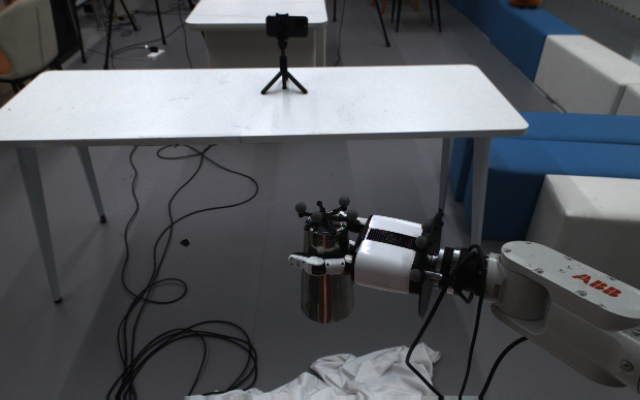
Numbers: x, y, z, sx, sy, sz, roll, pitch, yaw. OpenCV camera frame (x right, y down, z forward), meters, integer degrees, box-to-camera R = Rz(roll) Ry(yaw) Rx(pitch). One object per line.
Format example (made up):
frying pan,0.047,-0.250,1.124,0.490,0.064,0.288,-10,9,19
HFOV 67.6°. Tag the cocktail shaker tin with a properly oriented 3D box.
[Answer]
cocktail shaker tin,0.015,0.102,0.784,0.093,0.170,0.093,-1,32,1
